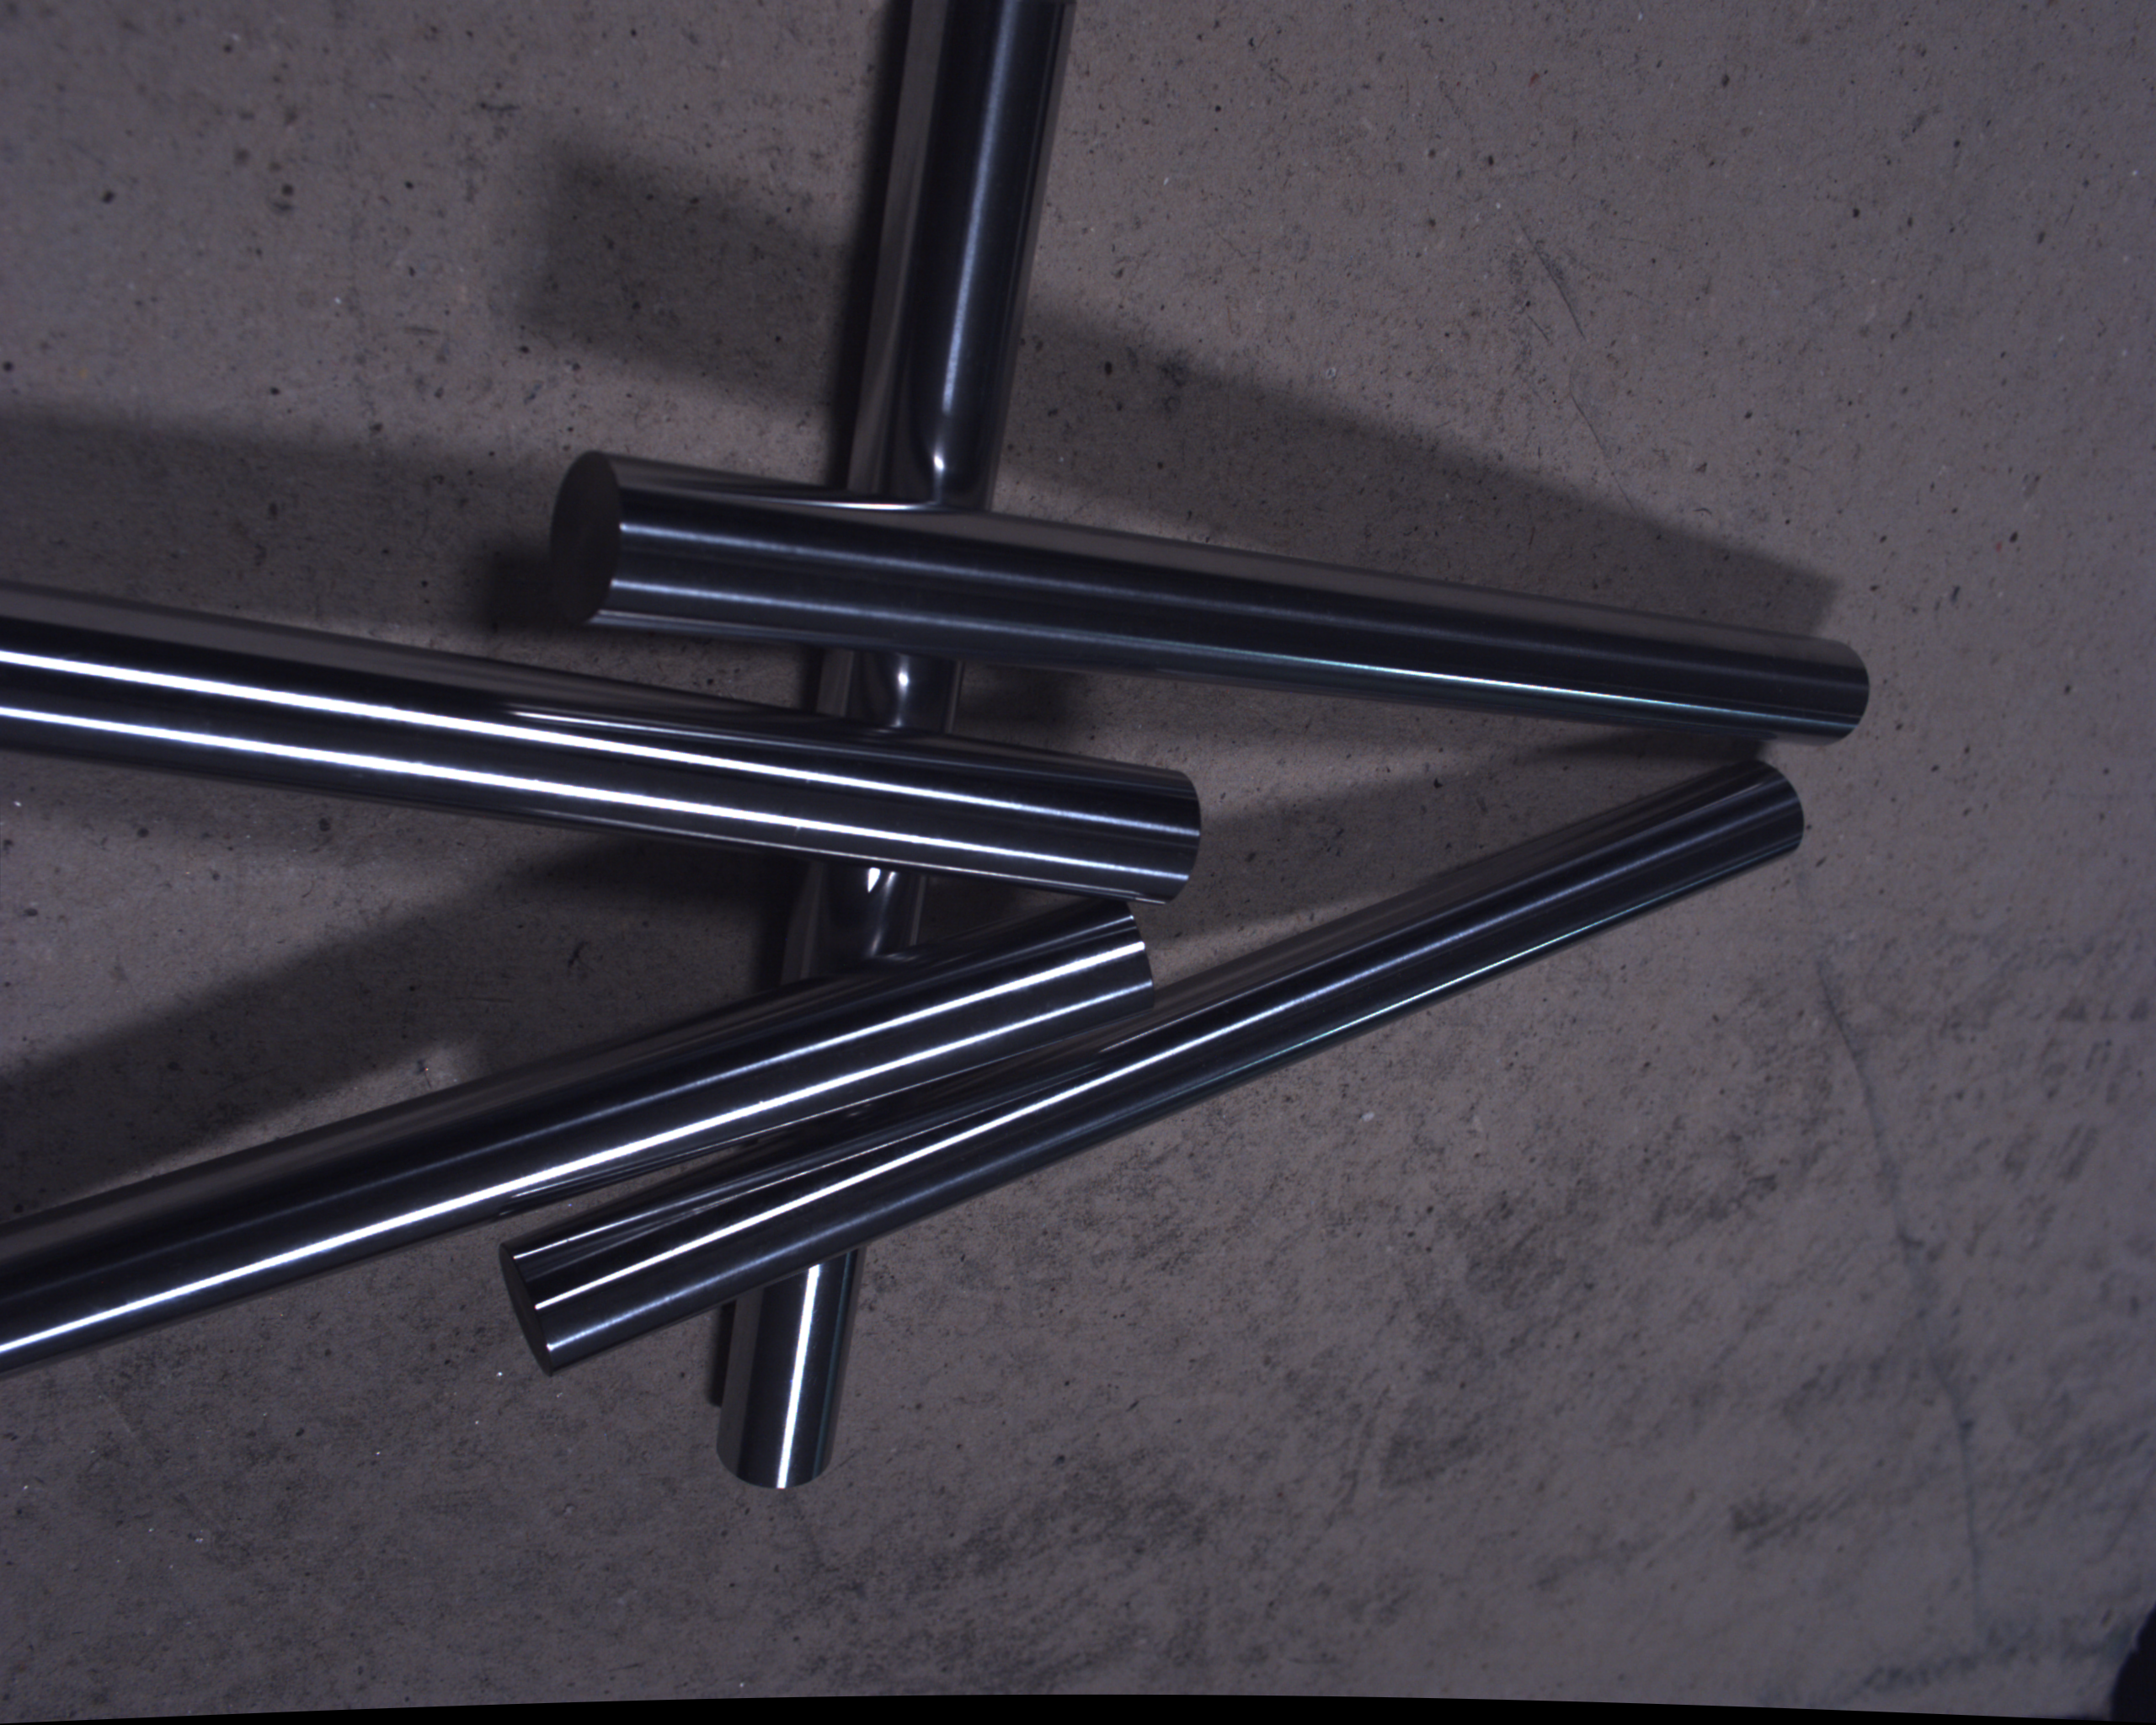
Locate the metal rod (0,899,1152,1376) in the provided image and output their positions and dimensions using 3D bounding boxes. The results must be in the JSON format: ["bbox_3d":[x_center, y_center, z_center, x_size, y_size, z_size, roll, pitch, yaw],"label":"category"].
[{"bbox_3d":[-0.132,0.058,0.355,0.302,0.025,0.025,-17,126,-13],"label":"metal rod"}]

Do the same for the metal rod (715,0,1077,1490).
[{"bbox_3d":[-0.039,-0.004,0.386,0.025,0.025,0.298,-3,120,-27],"label":"metal rod"}]

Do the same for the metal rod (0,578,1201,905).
[{"bbox_3d":[-0.118,-0.023,0.312,0.302,0.025,0.025,8,115,-26],"label":"metal rod"}]

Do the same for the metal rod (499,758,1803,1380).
[{"bbox_3d":[0.032,0.033,0.428,0.302,0.025,0.025,-19,127,-25],"label":"metal rod"}]

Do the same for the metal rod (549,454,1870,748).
[{"bbox_3d":[0.050,-0.043,0.390,0.302,0.025,0.025,2,118,-37],"label":"metal rod"}]
